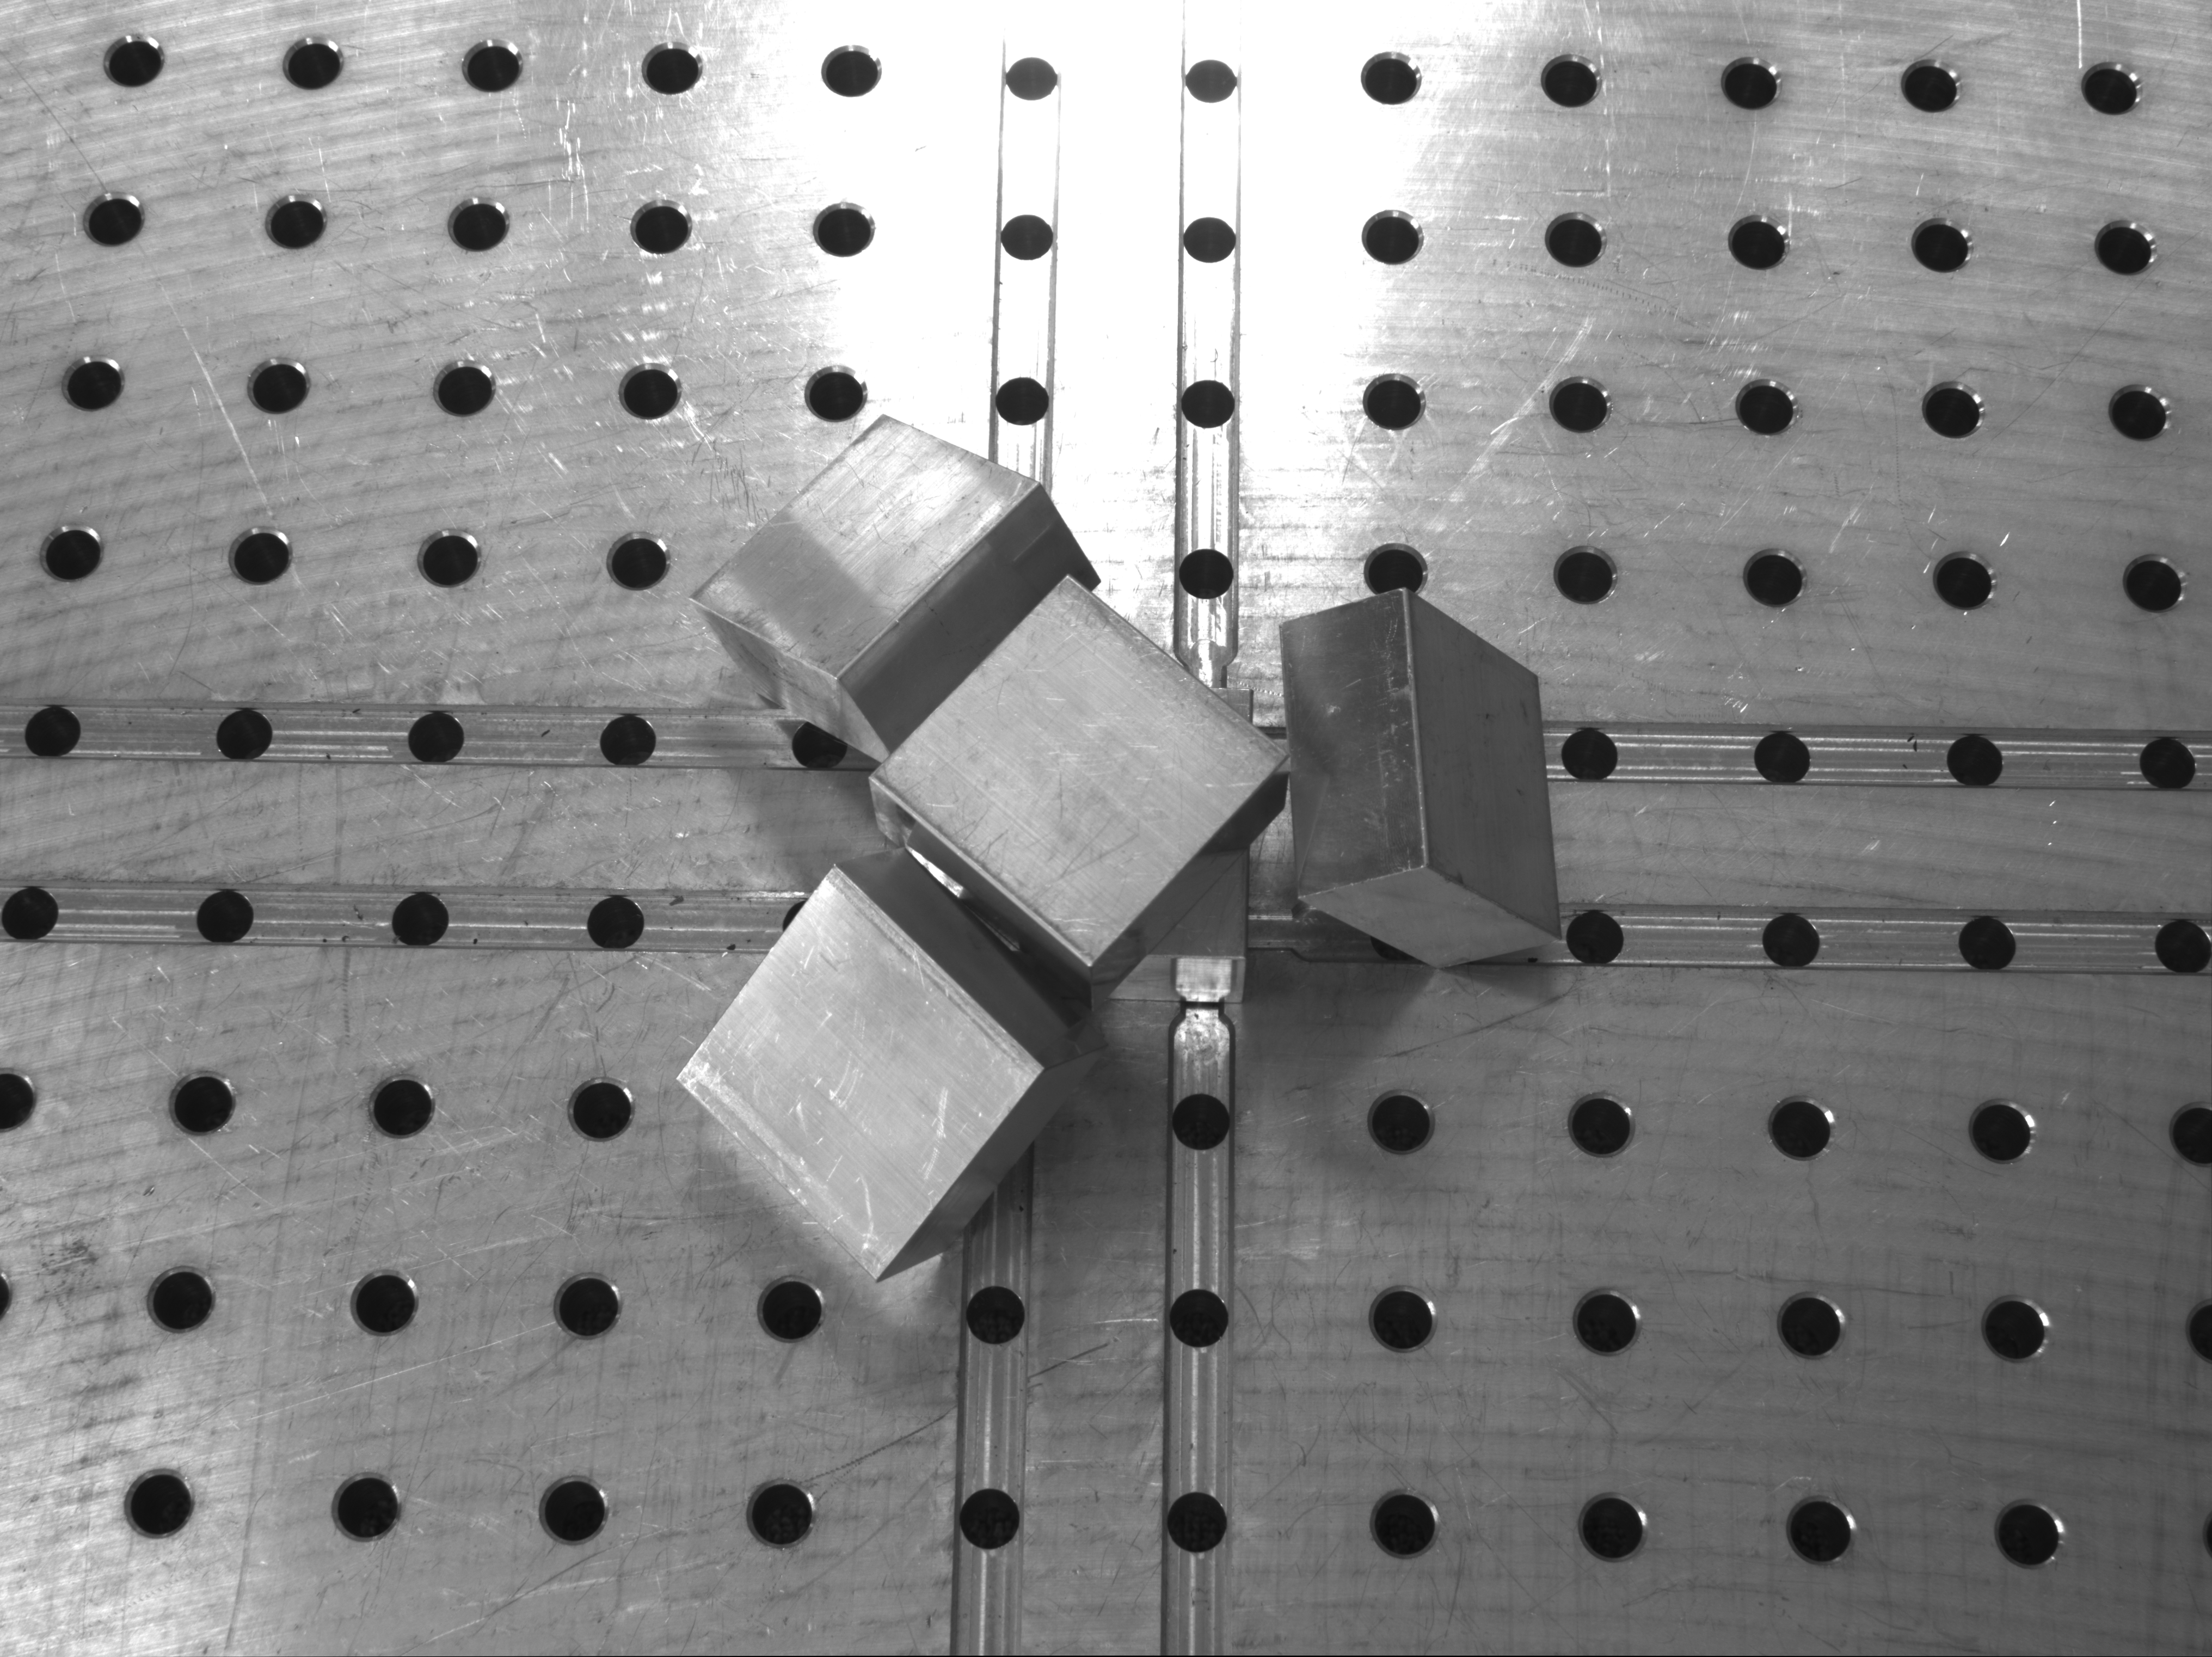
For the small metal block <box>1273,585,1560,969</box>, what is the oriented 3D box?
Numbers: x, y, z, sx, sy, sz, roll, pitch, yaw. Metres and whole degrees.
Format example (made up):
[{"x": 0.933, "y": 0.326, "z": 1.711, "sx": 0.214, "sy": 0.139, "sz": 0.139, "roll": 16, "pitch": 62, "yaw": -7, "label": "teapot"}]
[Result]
[{"x": 0.054, "y": -0.008, "z": 0.635, "sx": 0.025, "sy": 0.050, "sz": 0.050, "roll": -15, "pitch": 67, "yaw": 30, "label": "small metal block"}]

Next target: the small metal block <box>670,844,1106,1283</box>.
[{"x": -0.037, "y": 0.039, "z": 0.620, "sx": 0.050, "sy": 0.025, "sz": 0.050, "roll": 43, "pitch": 113, "yaw": 14, "label": "small metal block"}]

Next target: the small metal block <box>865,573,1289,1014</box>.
[{"x": -0.005, "y": -0.006, "z": 0.623, "sx": 0.050, "sy": 0.025, "sz": 0.050, "roll": 40, "pitch": 74, "yaw": 13, "label": "small metal block"}]

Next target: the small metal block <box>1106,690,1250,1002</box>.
[{"x": 0.000, "y": 0.003, "z": 0.647, "sx": 0.050, "sy": 0.025, "sz": 0.050, "roll": 2, "pitch": 72, "yaw": 1, "label": "small metal block"}]

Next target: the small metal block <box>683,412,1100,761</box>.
[{"x": -0.038, "y": -0.042, "z": 0.650, "sx": 0.050, "sy": 0.025, "sz": 0.050, "roll": -45, "pitch": 40, "yaw": -14, "label": "small metal block"}]
